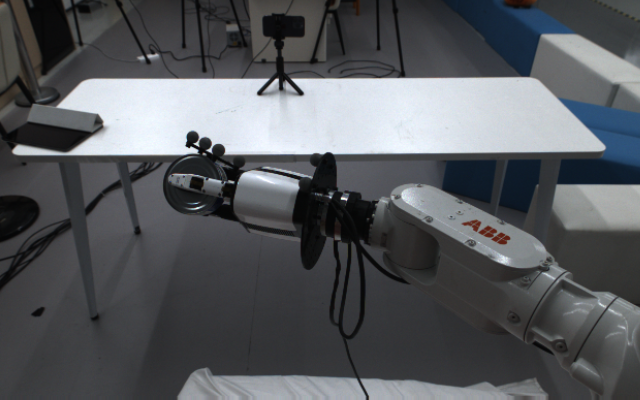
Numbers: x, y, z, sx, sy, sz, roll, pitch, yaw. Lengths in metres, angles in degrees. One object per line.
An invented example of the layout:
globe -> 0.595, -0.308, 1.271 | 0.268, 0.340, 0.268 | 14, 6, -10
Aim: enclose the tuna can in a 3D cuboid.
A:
tuna can -> -0.175, -0.019, 0.686 | 0.085, 0.085, 0.034 | 9, -5, 10
